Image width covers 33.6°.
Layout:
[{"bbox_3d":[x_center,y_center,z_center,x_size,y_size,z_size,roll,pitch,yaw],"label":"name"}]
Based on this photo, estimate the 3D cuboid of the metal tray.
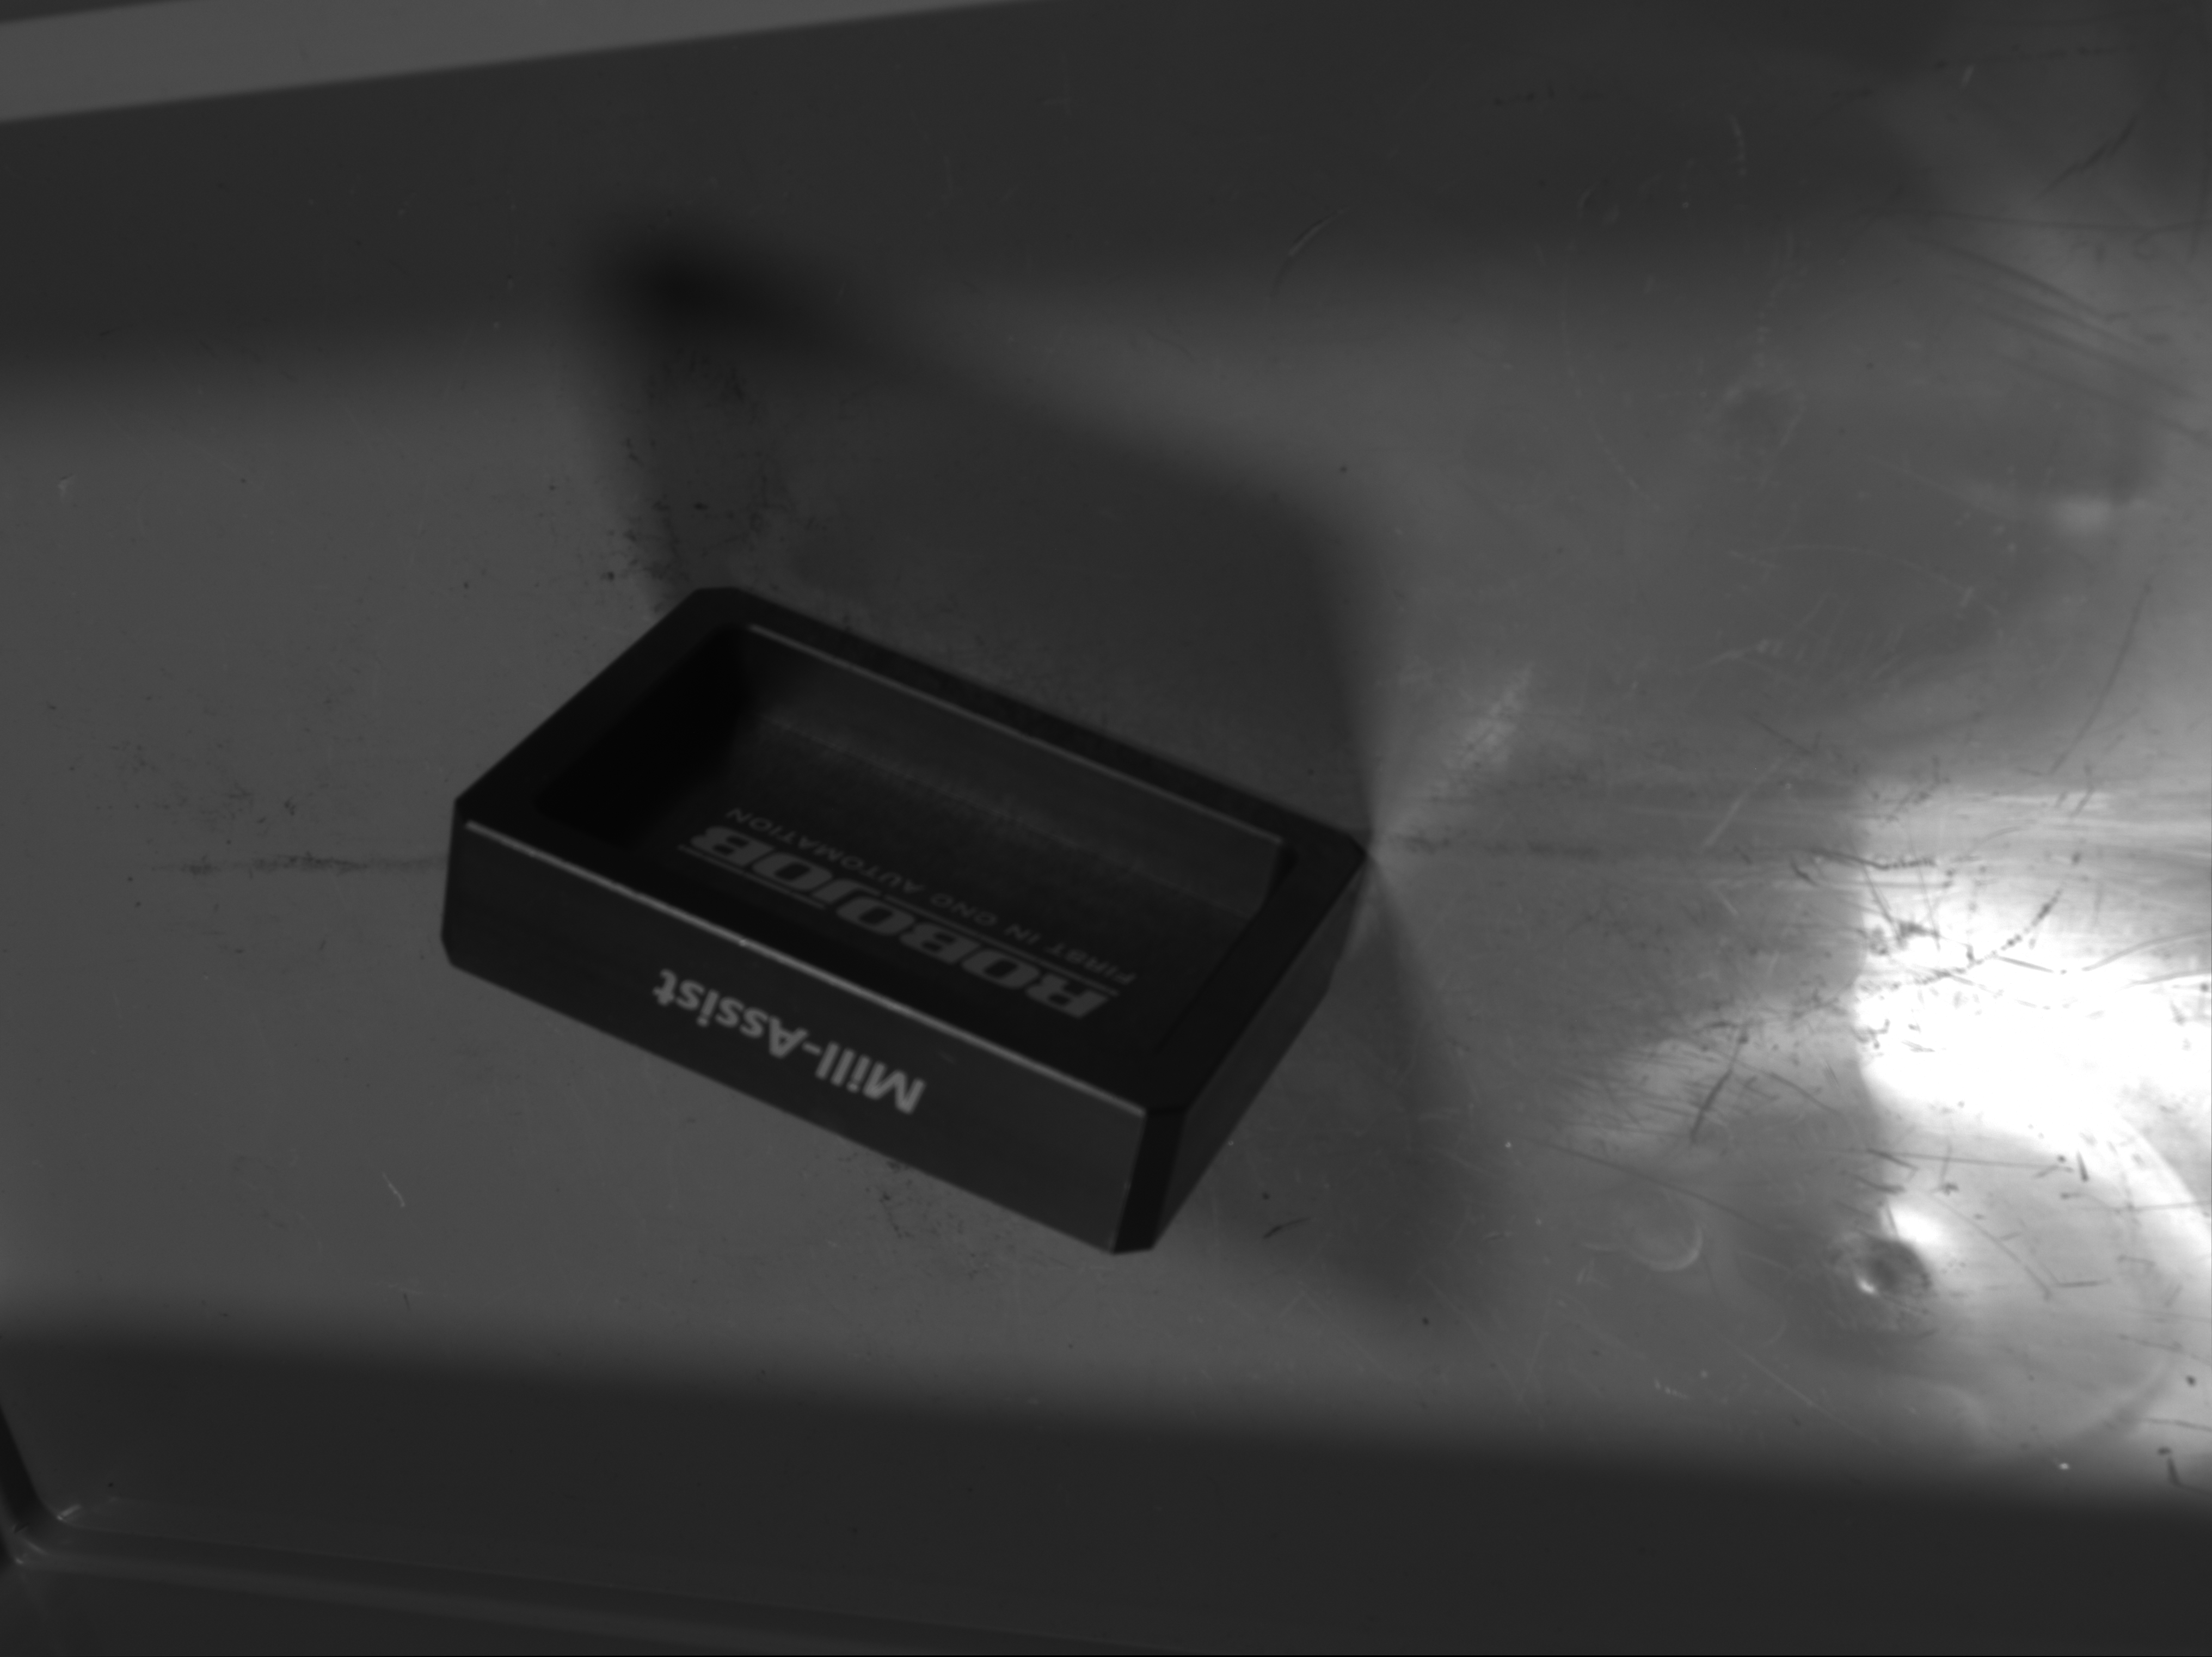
[{"bbox_3d":[-0.037,0.013,0.612,0.130,0.090,0.030,22,126,13],"label":"metal tray"}]
